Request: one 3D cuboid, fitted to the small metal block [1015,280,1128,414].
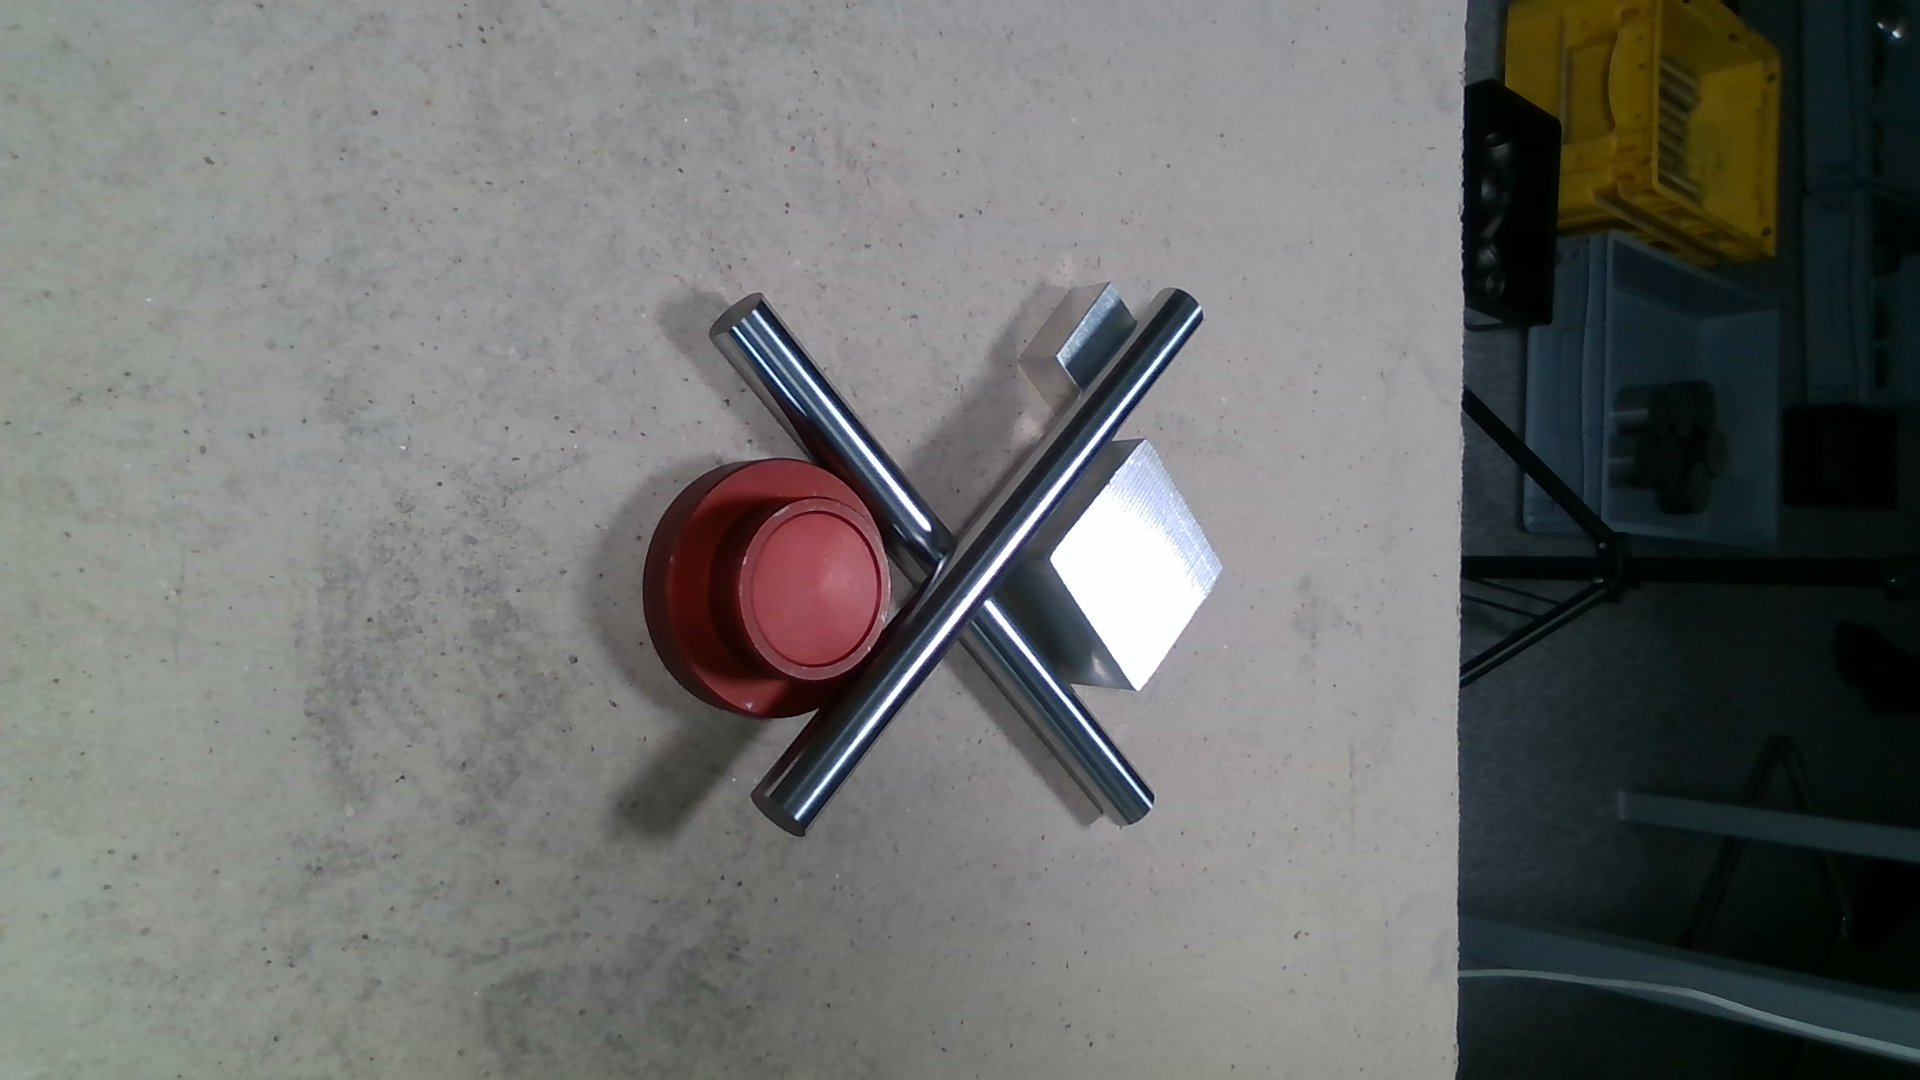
[{"bbox_3d":[0.060,-0.083,0.635,0.050,0.025,0.050,51,60,-28],"label":"small metal block"}]

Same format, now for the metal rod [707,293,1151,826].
[{"bbox_3d":[-0.002,0.021,0.583,0.301,0.025,0.025,52,59,-28],"label":"metal rod"}]

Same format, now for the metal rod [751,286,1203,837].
[{"bbox_3d":[0.018,-0.004,0.565,0.299,0.025,0.025,-51,120,-28],"label":"metal rod"}]

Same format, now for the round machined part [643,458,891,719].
[{"bbox_3d":[-0.065,0.018,0.517,0.098,0.042,0.098,0,90,-40],"label":"round machined part"}]

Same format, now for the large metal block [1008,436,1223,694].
[{"bbox_3d":[0.063,0.011,0.622,0.080,0.050,0.080,-50,119,-29],"label":"large metal block"}]
